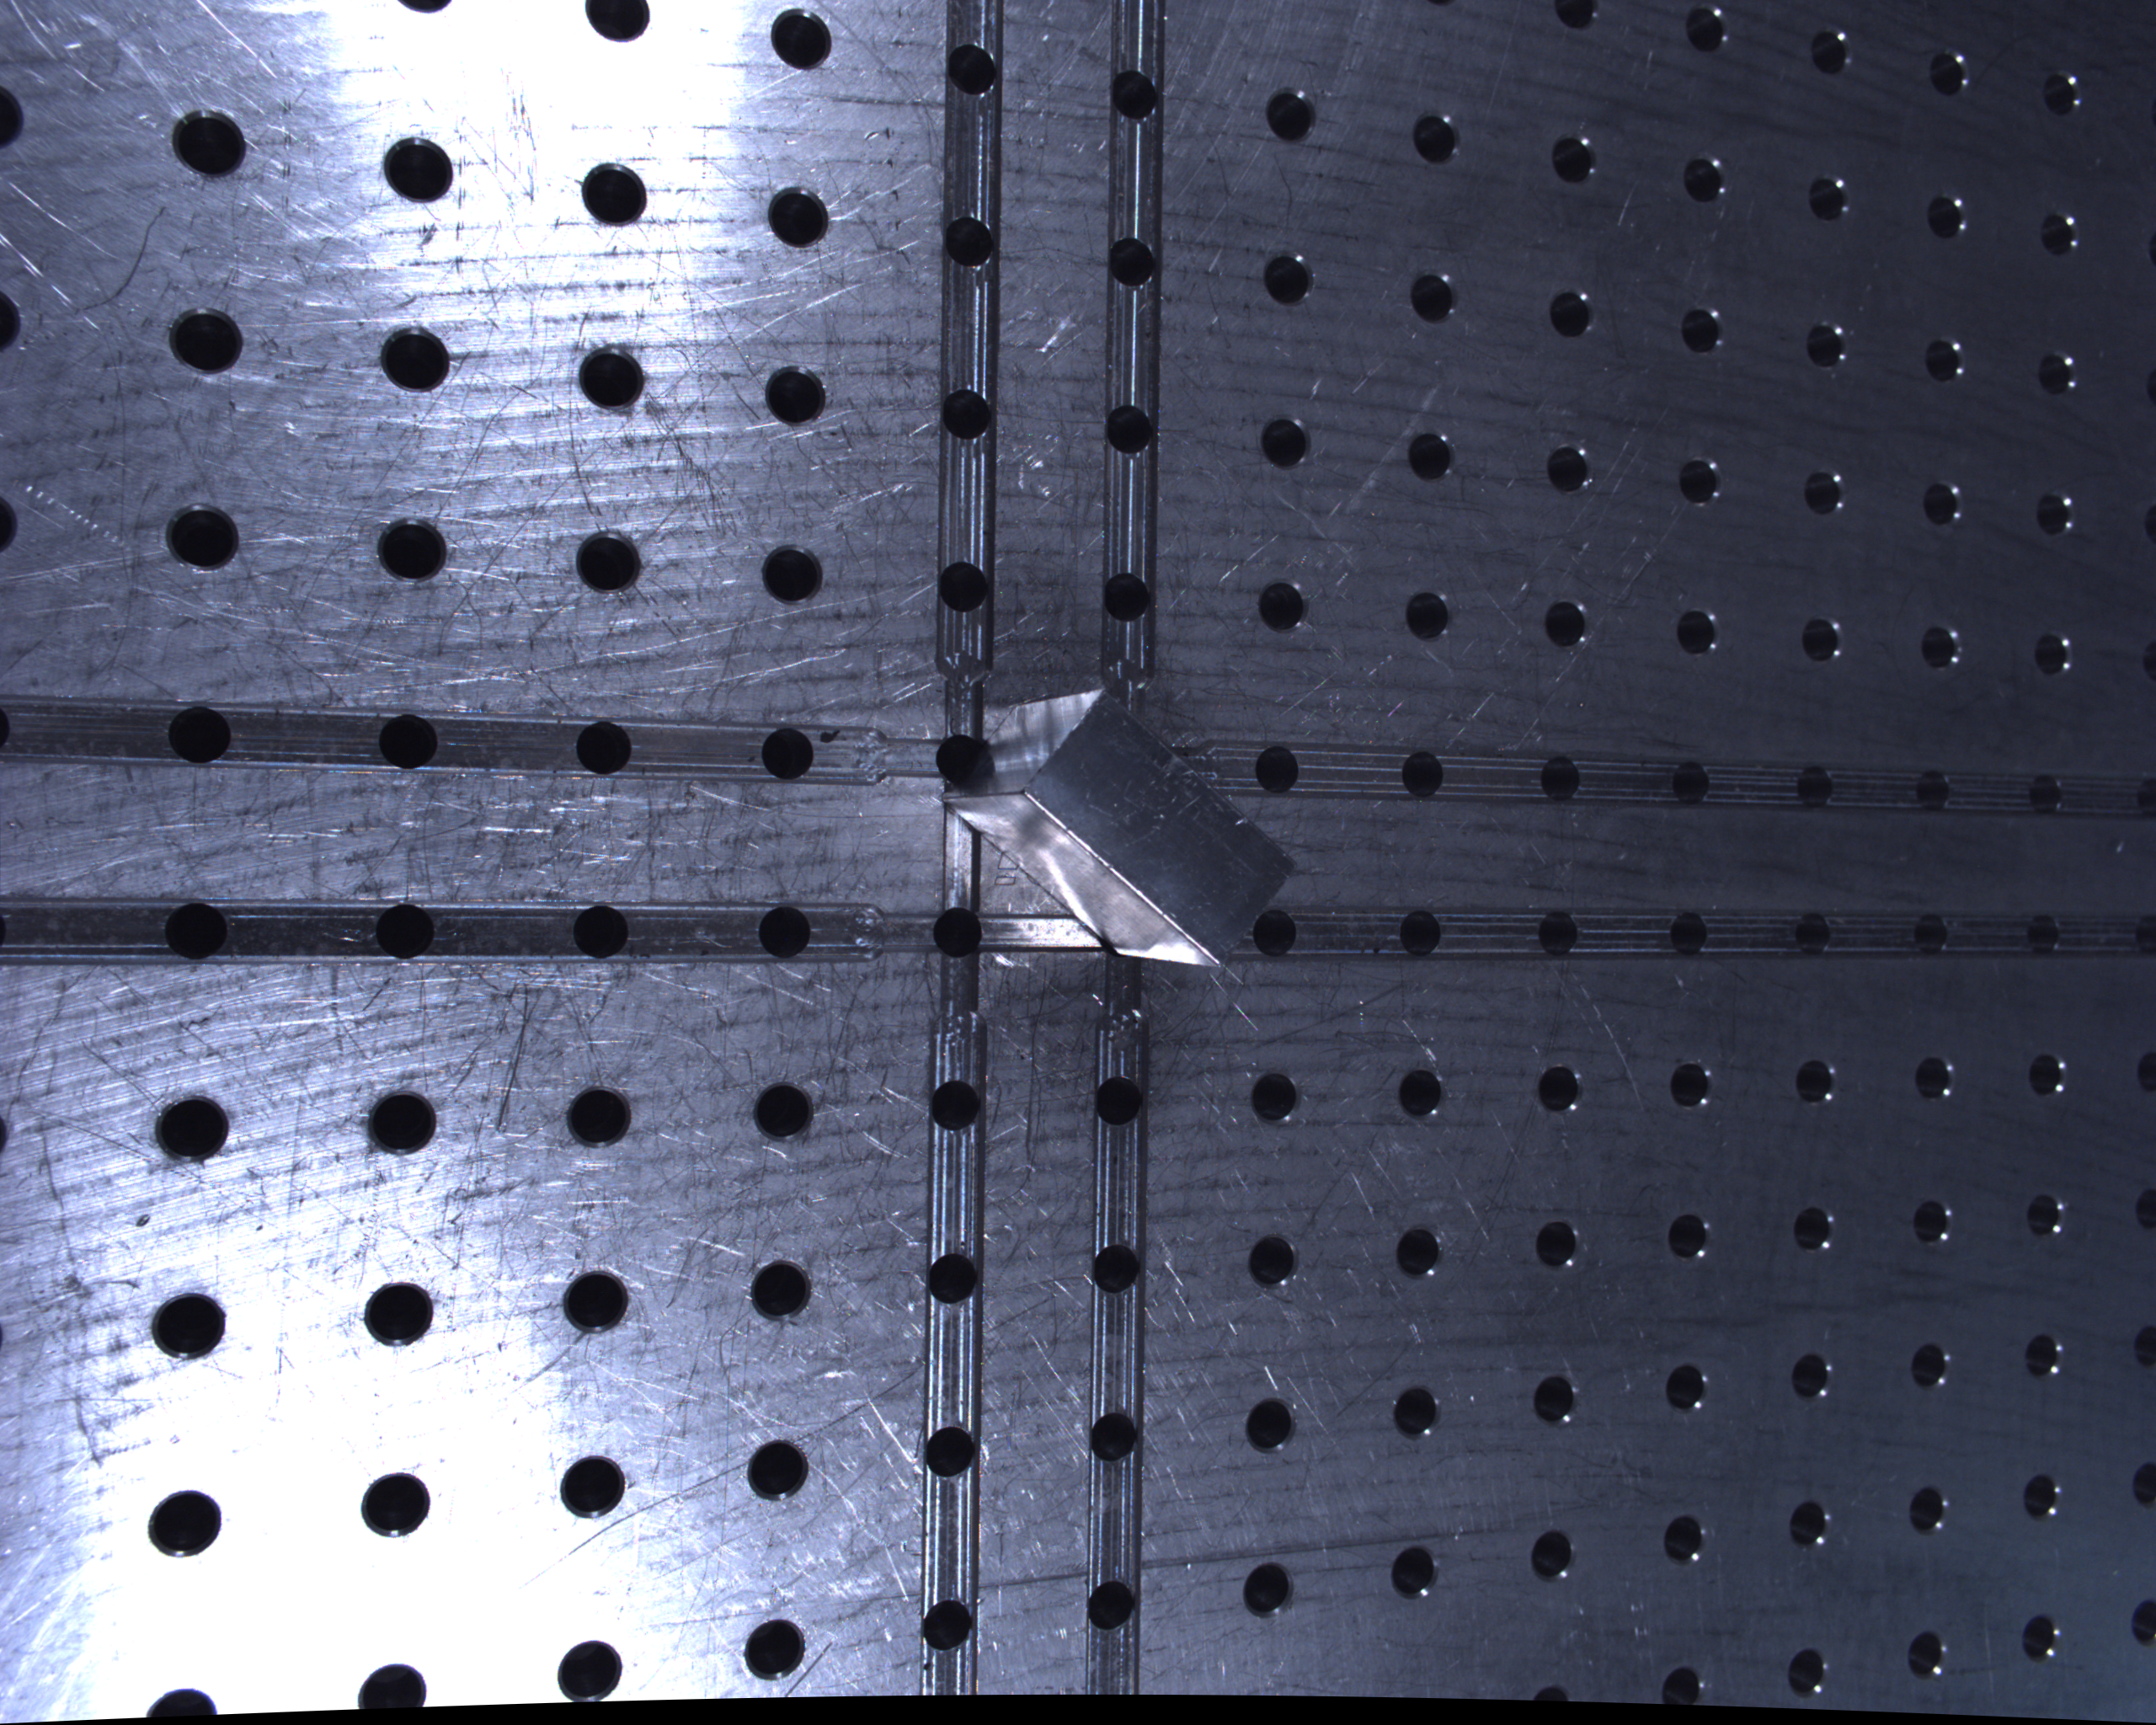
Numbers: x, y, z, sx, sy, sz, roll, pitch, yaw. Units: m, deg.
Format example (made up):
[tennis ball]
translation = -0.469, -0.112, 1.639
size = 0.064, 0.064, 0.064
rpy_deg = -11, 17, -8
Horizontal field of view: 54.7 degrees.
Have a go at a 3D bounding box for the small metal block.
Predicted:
[small metal block]
translation = 0.007, -0.006, 0.403
size = 0.050, 0.050, 0.025
rpy_deg = 42, 77, -16
